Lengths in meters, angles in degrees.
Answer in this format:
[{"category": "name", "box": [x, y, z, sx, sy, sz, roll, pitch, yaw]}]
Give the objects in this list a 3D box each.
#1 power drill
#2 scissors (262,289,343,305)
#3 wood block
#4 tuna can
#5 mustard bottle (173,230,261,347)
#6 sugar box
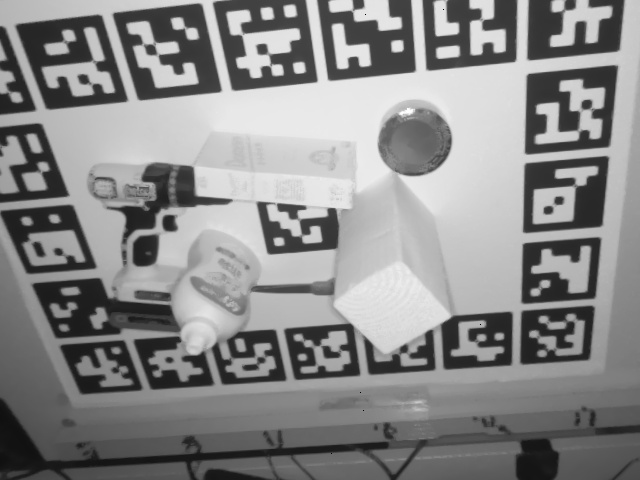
[{"category": "power drill", "box": [-0.176, -0.005, 0.864, 0.185, 0.058, 0.185, 8, 111, -2]}, {"category": "scissors", "box": [0.023, 0.072, 0.920, 0.203, 0.016, 0.087, -2, 122, 3]}, {"category": "wood block", "box": [0.087, 0.021, 0.793, 0.090, 0.208, 0.090, -30, 111, 18]}, {"category": "tuna can", "box": [0.121, -0.111, 0.804, 0.086, 0.034, 0.085, 1, 117, 3]}, {"category": "mustard bottle", "box": [-0.127, 0.065, 0.832, 0.096, 0.193, 0.058, 41, 113, -16]}, {"category": "sugar box", "box": [-0.045, -0.082, 0.799, 0.176, 0.094, 0.045, 8, 122, 1]}]
